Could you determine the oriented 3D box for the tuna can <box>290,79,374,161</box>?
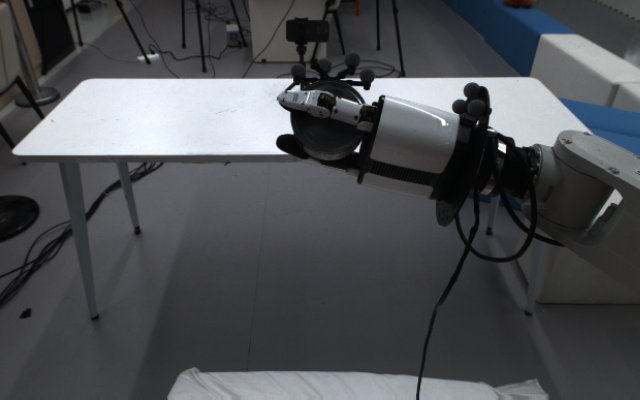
[{"bbox_3d":[0.009,-0.092,0.543,0.085,0.034,0.085,0,73,0],"label":"tuna can"}]
